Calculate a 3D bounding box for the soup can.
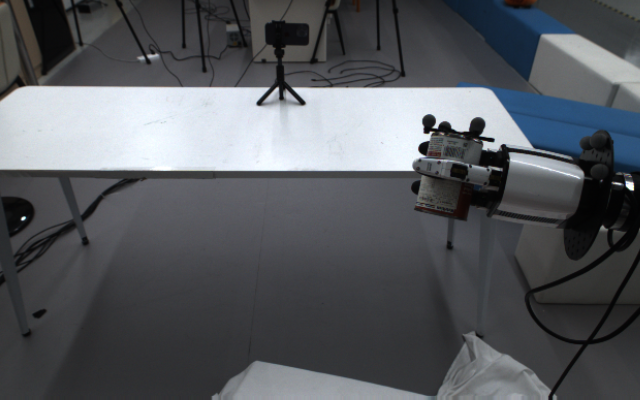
[{"bbox_3d":[0.166,-0.031,0.621,0.067,0.101,0.067,11,3,0],"label":"soup can"}]
